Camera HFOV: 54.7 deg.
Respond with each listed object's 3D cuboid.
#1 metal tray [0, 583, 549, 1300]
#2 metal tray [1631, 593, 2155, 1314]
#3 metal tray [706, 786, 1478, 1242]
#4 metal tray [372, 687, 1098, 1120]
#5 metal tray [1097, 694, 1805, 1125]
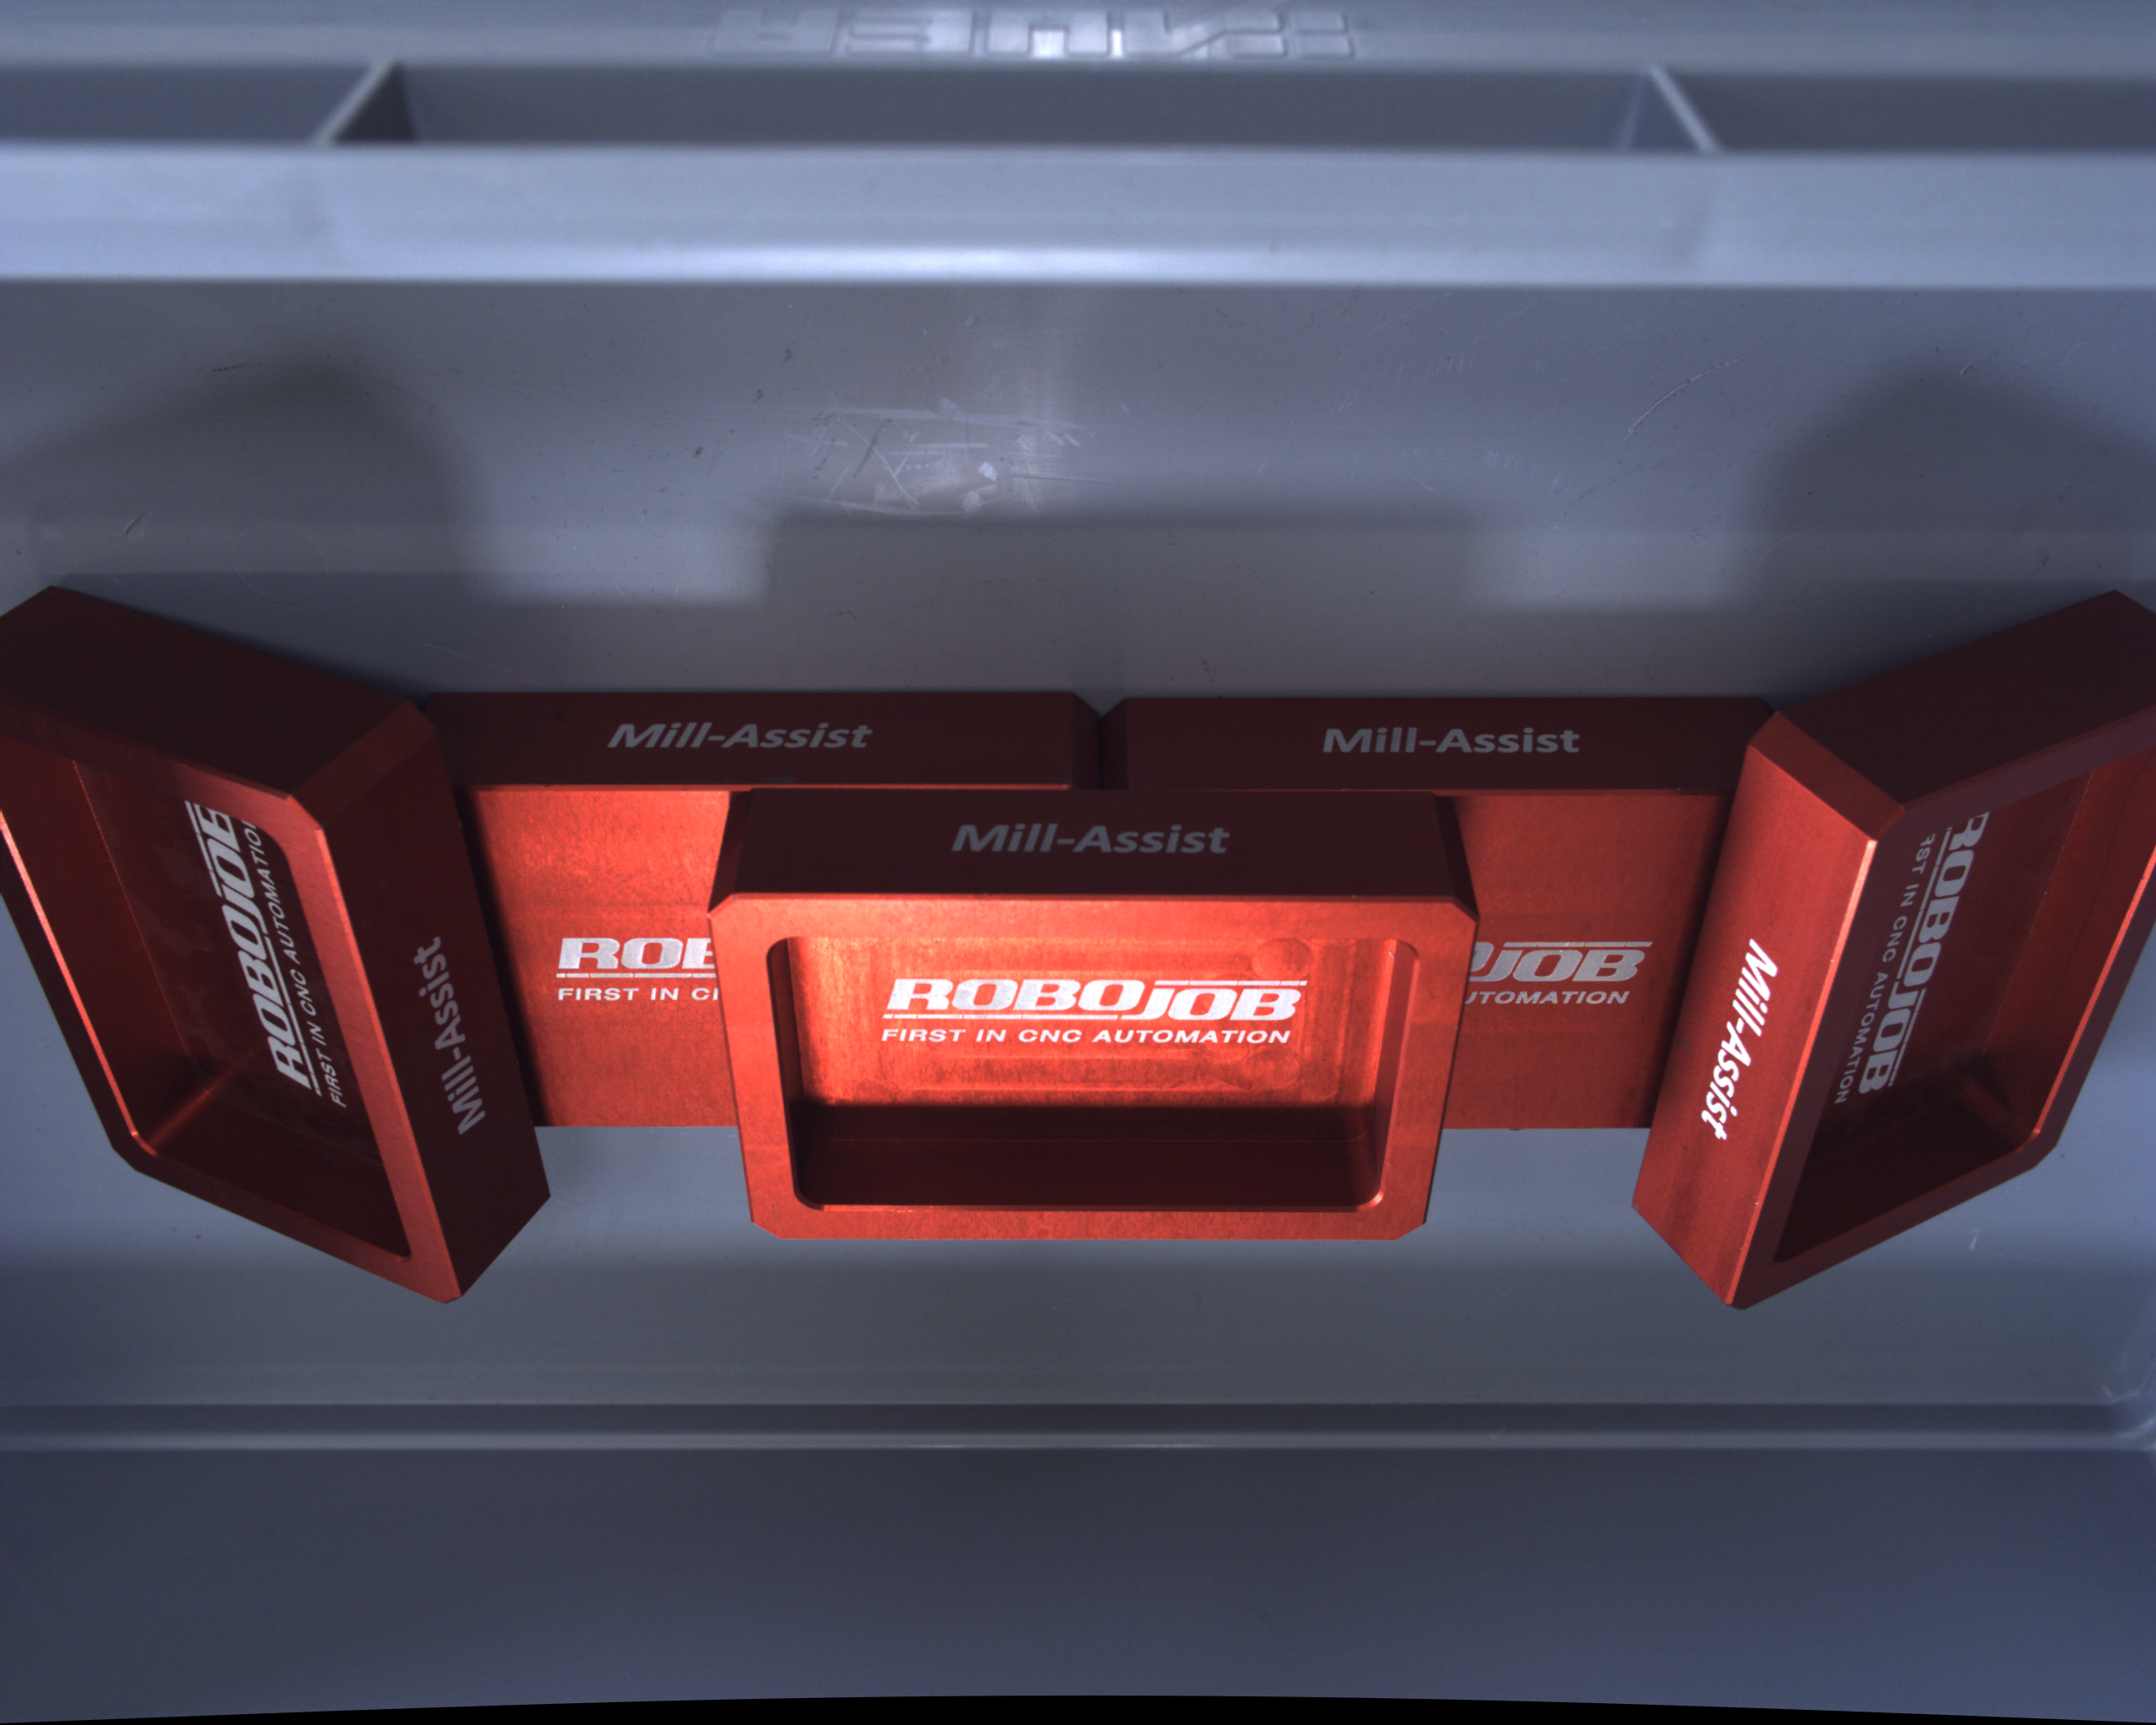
[{"bbox_3d":[-0.155,0.018,0.394,0.090,0.030,0.129,17,133,19],"label":"metal tray"},{"bbox_3d":[0.160,0.020,0.397,0.091,0.030,0.129,-19,134,-21],"label":"metal tray"},{"bbox_3d":[0.002,0.030,0.390,0.131,0.030,0.089,1,130,-1],"label":"metal tray"},{"bbox_3d":[-0.062,0.010,0.413,0.131,0.030,0.089,0,130,0],"label":"metal tray"},{"bbox_3d":[0.069,0.011,0.415,0.131,0.030,0.089,0,130,0],"label":"metal tray"}]
